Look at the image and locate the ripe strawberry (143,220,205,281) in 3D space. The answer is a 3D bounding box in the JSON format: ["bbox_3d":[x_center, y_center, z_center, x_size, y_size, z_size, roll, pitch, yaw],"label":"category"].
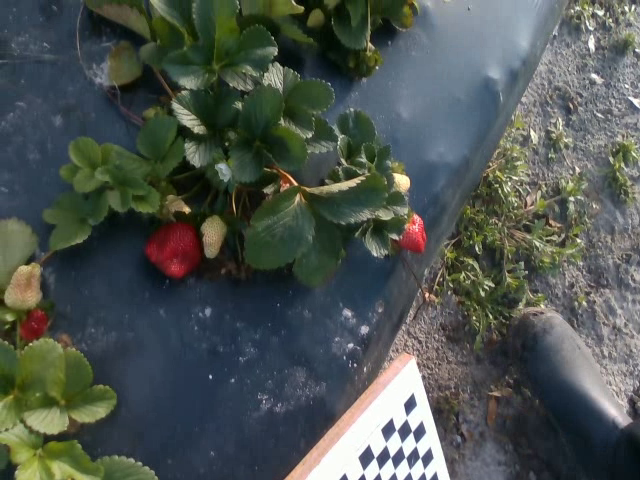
[{"bbox_3d":[-0.150,0.013,0.659,0.057,0.058,0.071,-3,21,21],"label":"ripe strawberry"}]
